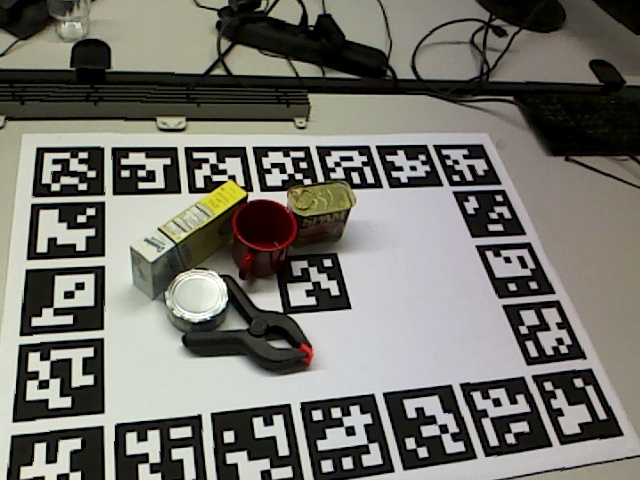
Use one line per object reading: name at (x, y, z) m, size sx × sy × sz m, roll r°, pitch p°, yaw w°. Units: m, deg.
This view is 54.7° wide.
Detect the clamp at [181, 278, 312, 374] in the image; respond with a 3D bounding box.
clamp at (-0.088, 0.131, 0.835) m, size 0.165 × 0.036 × 0.122 m, roll 28°, pitch 48°, yaw 3°

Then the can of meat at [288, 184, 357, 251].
can of meat at (-0.004, -0.033, 0.947) m, size 0.101 × 0.083 × 0.058 m, roll -9°, pitch 56°, yaw -21°

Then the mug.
mug at (-0.089, 0.008, 0.887) m, size 0.093 × 0.081 × 0.117 m, roll 18°, pitch 54°, yaw -1°

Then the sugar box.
sugar box at (-0.182, 0.002, 0.874) m, size 0.045 × 0.093 × 0.176 m, roll 38°, pitch 53°, yaw 17°

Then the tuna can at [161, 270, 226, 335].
tuna can at (-0.173, 0.086, 0.842) m, size 0.085 × 0.034 × 0.086 m, roll 6°, pitch 55°, yaw -9°
